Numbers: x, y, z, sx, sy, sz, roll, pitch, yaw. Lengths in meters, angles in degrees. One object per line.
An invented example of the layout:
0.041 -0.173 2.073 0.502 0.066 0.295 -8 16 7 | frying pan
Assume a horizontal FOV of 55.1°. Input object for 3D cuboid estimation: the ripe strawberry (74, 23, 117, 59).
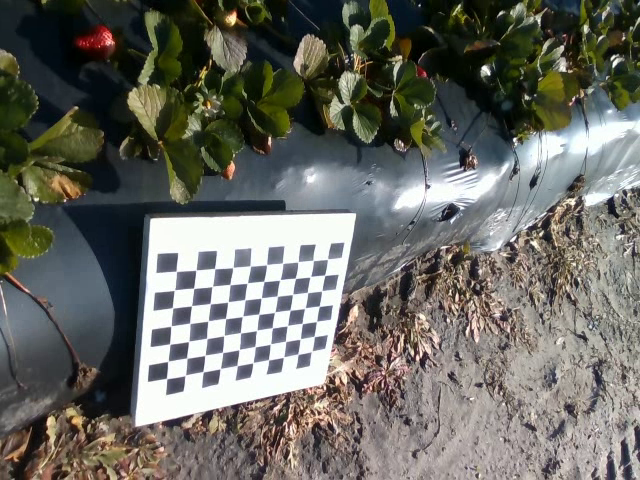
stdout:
-0.236 -0.207 0.629 0.044 0.042 0.055 22 28 30 | ripe strawberry
